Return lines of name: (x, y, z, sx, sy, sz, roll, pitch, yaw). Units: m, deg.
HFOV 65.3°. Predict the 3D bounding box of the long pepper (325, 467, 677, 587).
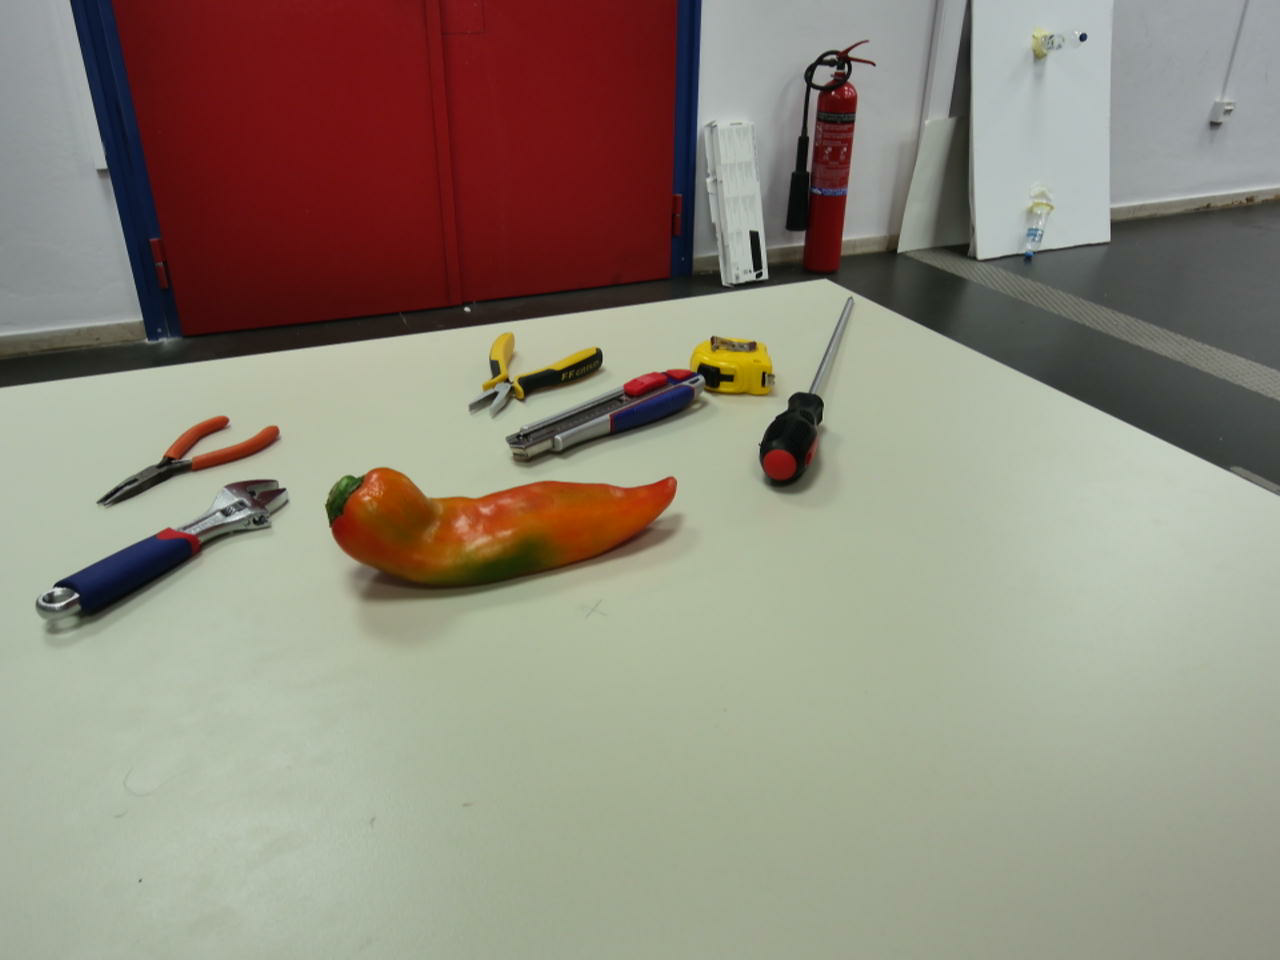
long pepper: (-0.069, 0.014, 0.553, 0.199, 0.065, 0.066, -9, 28, -18)
